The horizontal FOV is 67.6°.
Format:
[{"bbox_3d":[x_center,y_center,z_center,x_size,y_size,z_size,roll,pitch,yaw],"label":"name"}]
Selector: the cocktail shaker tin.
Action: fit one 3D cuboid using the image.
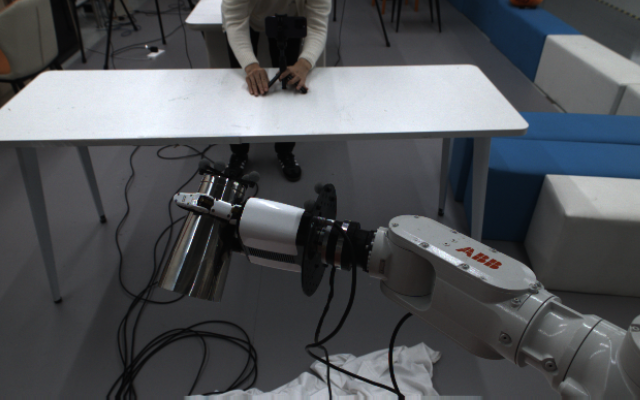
[{"bbox_3d":[-0.162,0.051,0.703,0.093,0.093,0.170,13,78,15],"label":"cocktail shaker tin"}]
